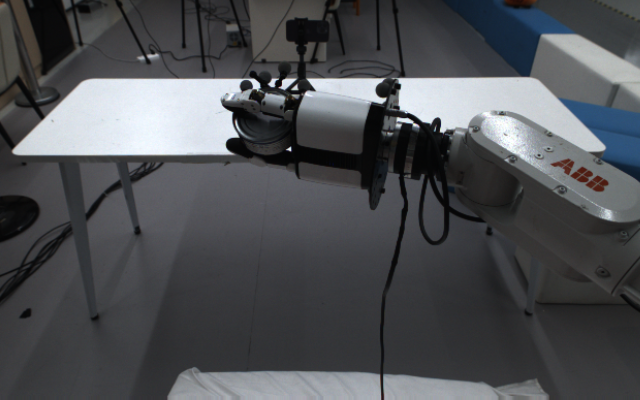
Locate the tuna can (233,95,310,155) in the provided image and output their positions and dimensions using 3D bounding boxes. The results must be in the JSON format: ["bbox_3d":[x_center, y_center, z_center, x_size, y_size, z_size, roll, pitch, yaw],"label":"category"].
[{"bbox_3d":[-0.067,-0.101,0.625,0.085,0.034,0.085,-3,61,6],"label":"tuna can"}]
